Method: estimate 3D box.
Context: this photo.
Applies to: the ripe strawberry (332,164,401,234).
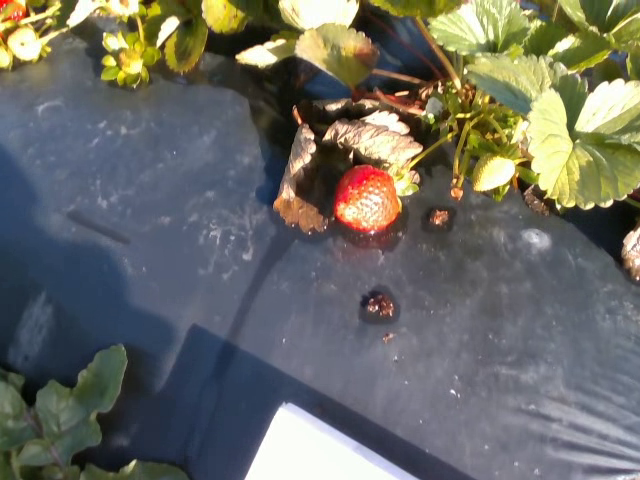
[{"bbox_3d":[0.017,-0.015,0.302,0.054,0.047,0.038,-32,-15,-38],"label":"ripe strawberry"}]
